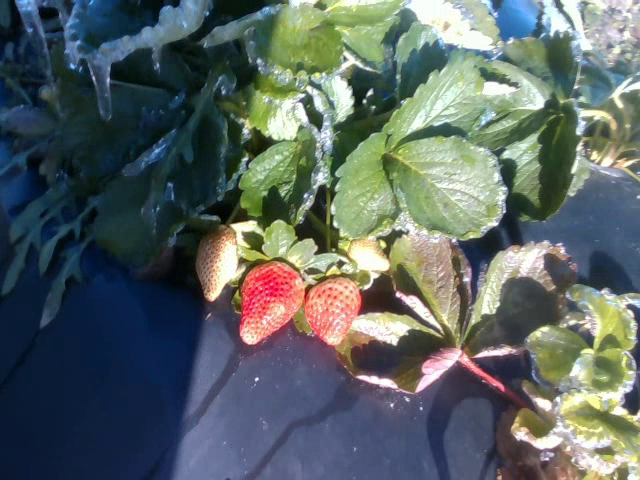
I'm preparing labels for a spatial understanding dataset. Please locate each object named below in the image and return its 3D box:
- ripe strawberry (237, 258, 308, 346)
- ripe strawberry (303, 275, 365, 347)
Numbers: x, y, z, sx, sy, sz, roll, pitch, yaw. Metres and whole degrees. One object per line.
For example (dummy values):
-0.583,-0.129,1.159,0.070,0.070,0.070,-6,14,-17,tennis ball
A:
-0.030,0.038,0.344,0.036,0.040,0.052,10,43,13,ripe strawberry
0.009,0.040,0.354,0.036,0.041,0.030,-15,-20,9,ripe strawberry
